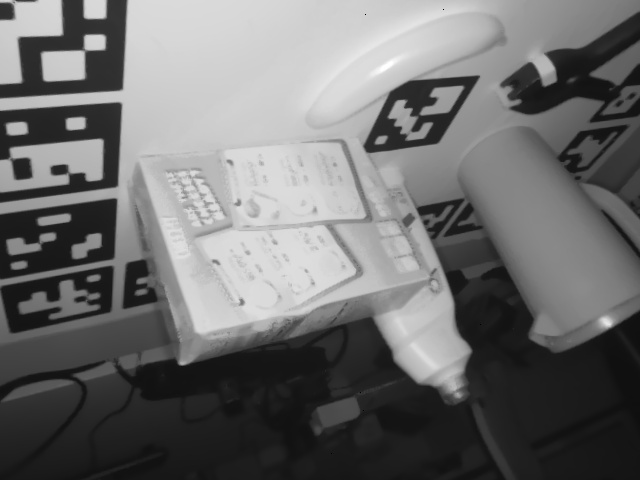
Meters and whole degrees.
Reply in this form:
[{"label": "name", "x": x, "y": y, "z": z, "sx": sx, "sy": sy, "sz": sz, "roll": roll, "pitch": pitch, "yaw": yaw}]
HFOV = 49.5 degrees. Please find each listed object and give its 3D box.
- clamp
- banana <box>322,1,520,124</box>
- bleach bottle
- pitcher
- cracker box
[{"label": "clamp", "x": 0.281, "y": -0.179, "z": 0.720, "sx": 0.166, "sy": 0.036, "sz": 0.121, "roll": -18, "pitch": 153, "yaw": -9}, {"label": "banana", "x": 0.085, "y": -0.161, "z": 0.611, "sx": 0.197, "sy": 0.039, "sz": 0.074, "roll": -28, "pitch": 152, "yaw": 5}, {"label": "bleach bottle", "x": 0.118, "y": 0.034, "z": 0.728, "sx": 0.104, "sy": 0.251, "sz": 0.067, "roll": -11, "pitch": 150, "yaw": -25}, {"label": "pitcher", "x": 0.304, "y": -0.006, "z": 0.768, "sx": 0.190, "sy": 0.243, "sz": 0.132, "roll": -18, "pitch": 152, "yaw": -7}, {"label": "cracker box", "x": -0.013, "y": -0.004, "z": 0.617, "sx": 0.217, "sy": 0.164, "sz": 0.071, "roll": -11, "pitch": 152, "yaw": -27}]
